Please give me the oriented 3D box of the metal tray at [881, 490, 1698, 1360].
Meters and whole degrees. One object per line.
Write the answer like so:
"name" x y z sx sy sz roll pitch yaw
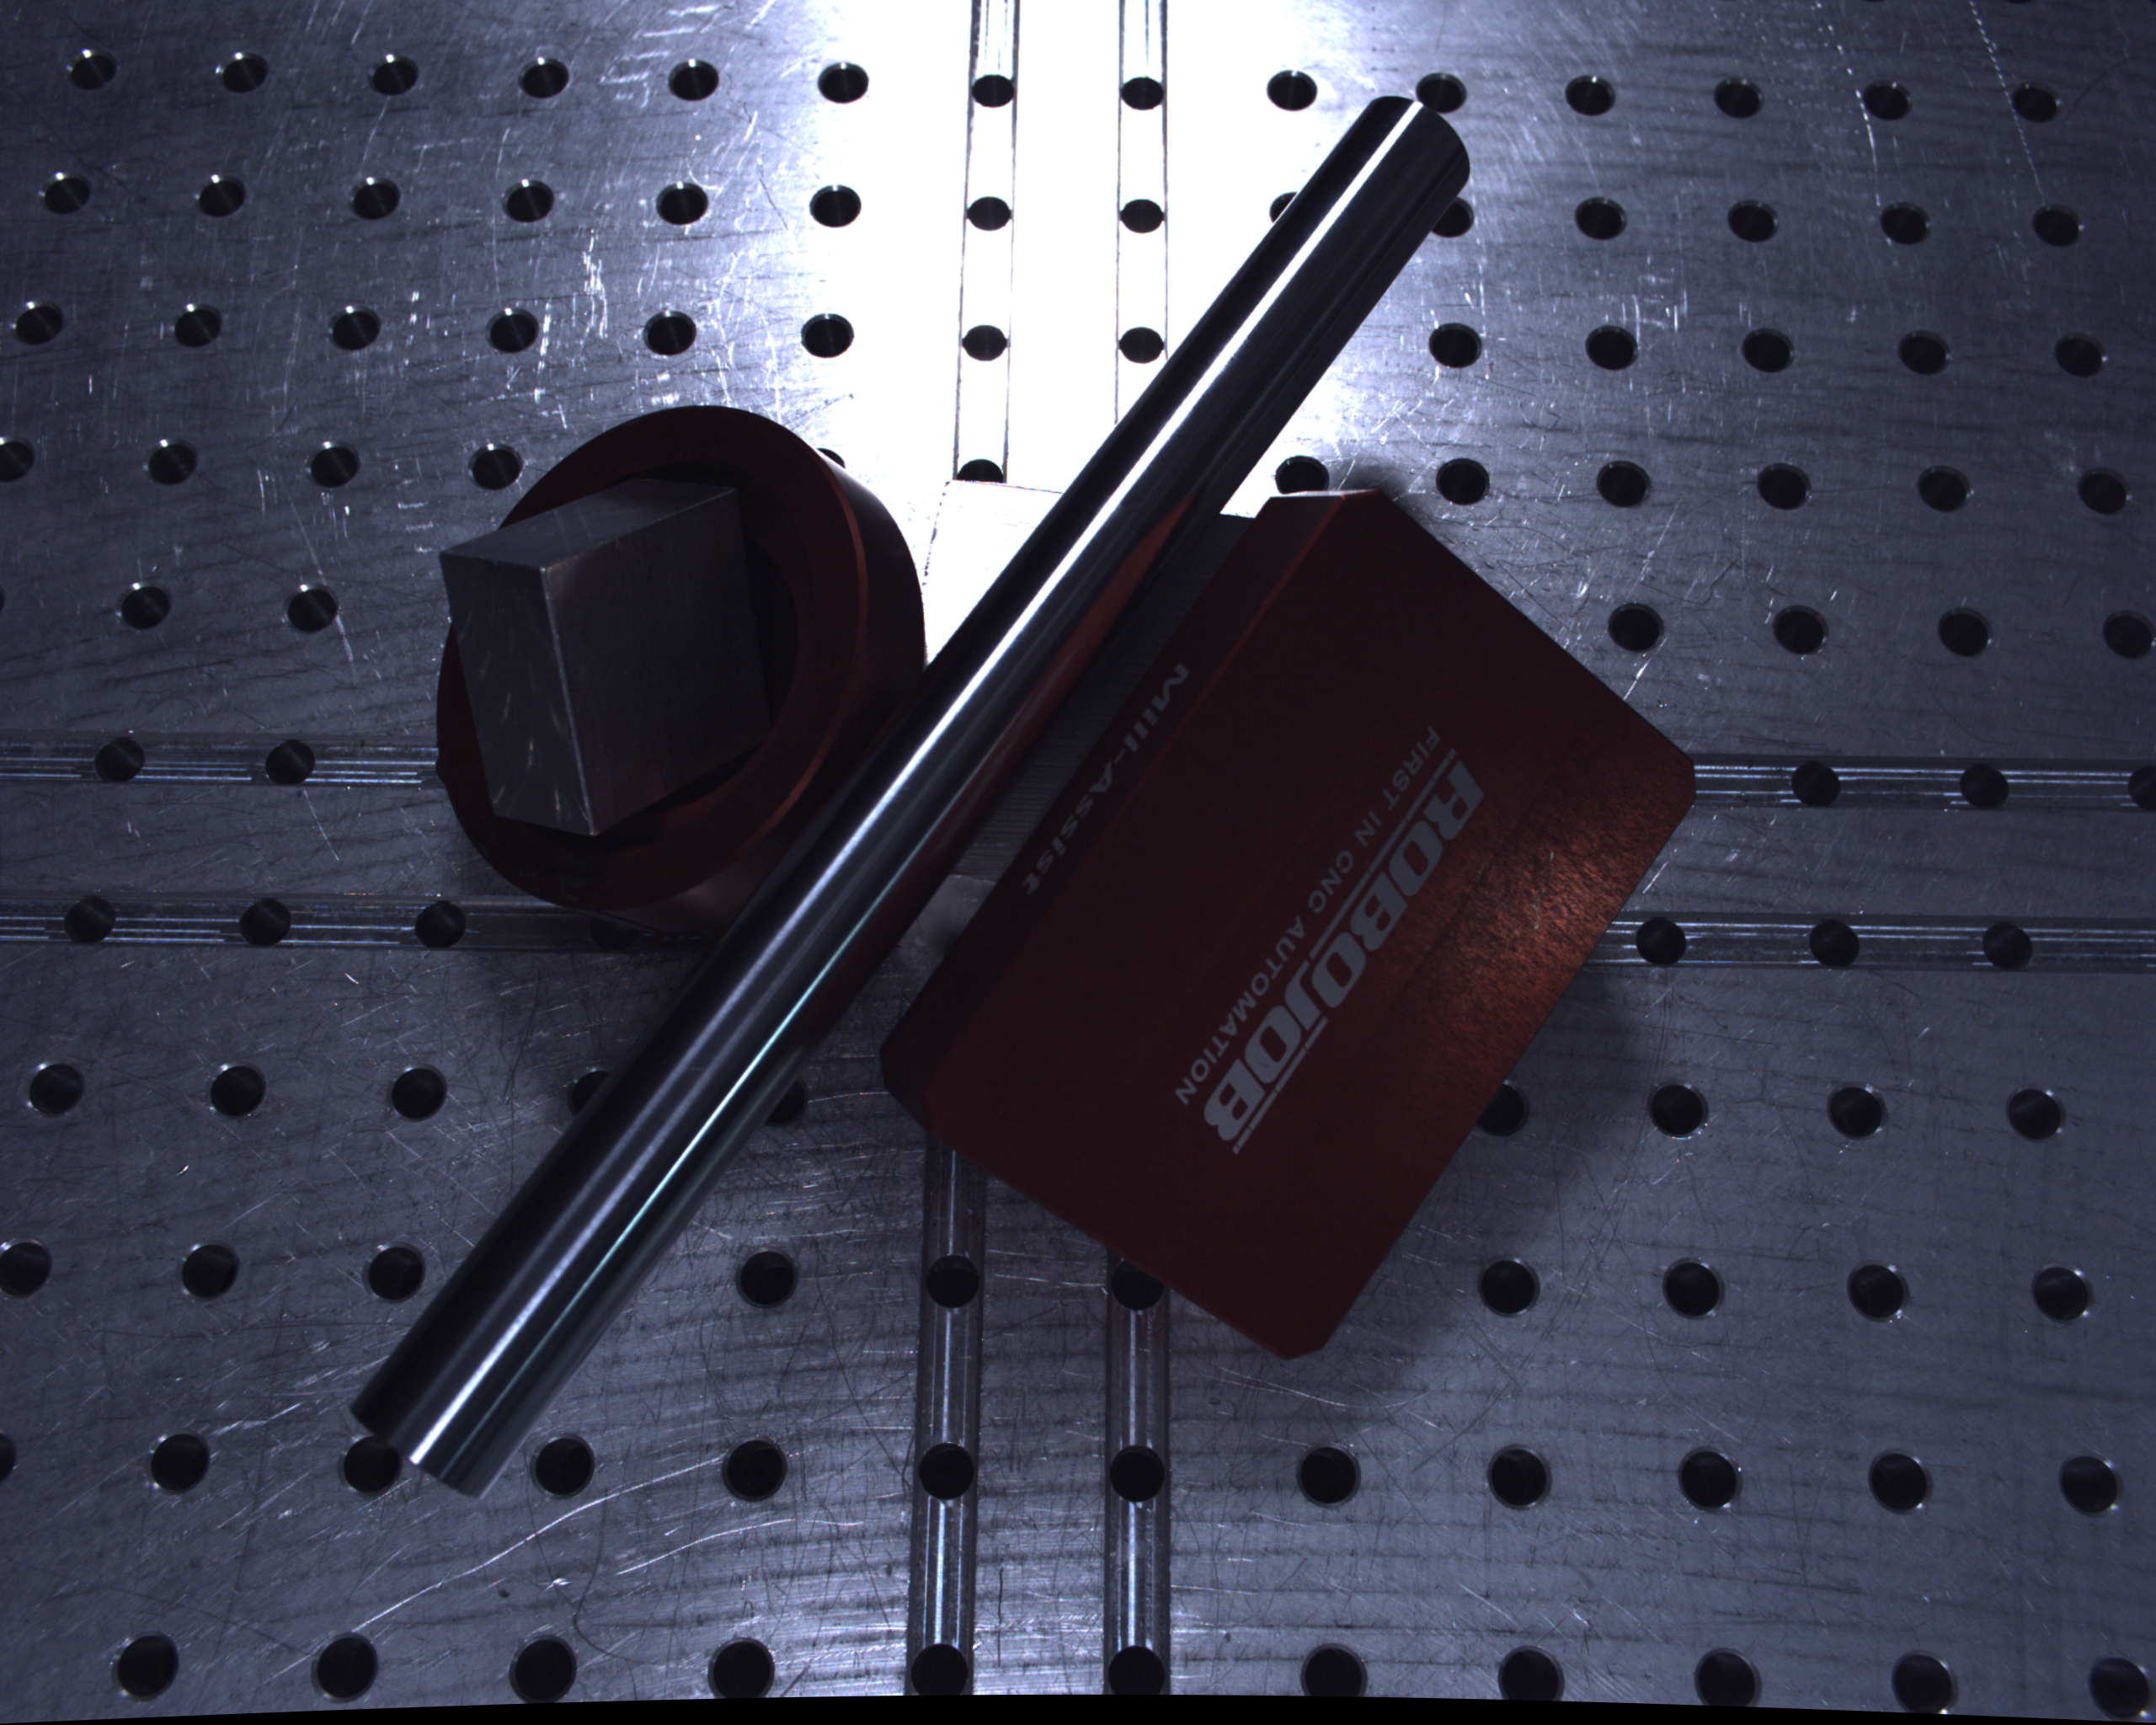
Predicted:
"metal tray" 0.039 0.011 0.370 0.090 0.030 0.130 36 86 -21

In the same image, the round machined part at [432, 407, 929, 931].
"round machined part" -0.071 -0.034 0.400 0.098 0.042 0.098 -7 71 23

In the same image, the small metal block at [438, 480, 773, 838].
"small metal block" -0.084 -0.039 0.382 0.025 0.050 0.050 12 30 31

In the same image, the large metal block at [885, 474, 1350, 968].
"large metal block" 0.008 -0.023 0.406 0.080 0.050 0.080 9 70 3

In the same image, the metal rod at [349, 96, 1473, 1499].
"metal rod" -0.018 -0.025 0.367 0.025 0.025 0.300 33 73 11
